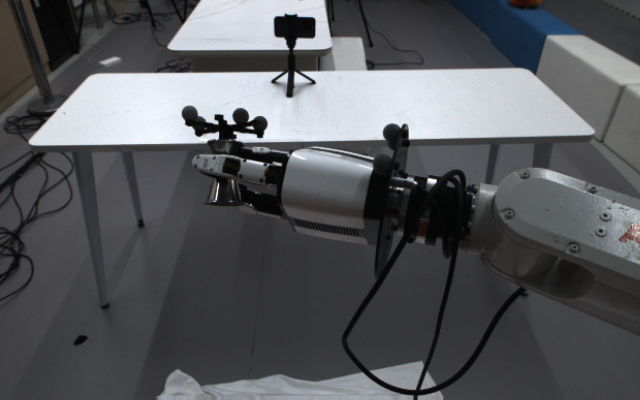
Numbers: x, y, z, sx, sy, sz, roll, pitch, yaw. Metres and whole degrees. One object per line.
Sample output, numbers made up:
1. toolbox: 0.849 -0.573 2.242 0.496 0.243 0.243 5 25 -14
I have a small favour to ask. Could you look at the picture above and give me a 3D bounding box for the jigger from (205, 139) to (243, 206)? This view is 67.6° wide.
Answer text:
1. jigger: -0.104 -0.028 0.529 0.043 0.071 0.043 0 -5 0
